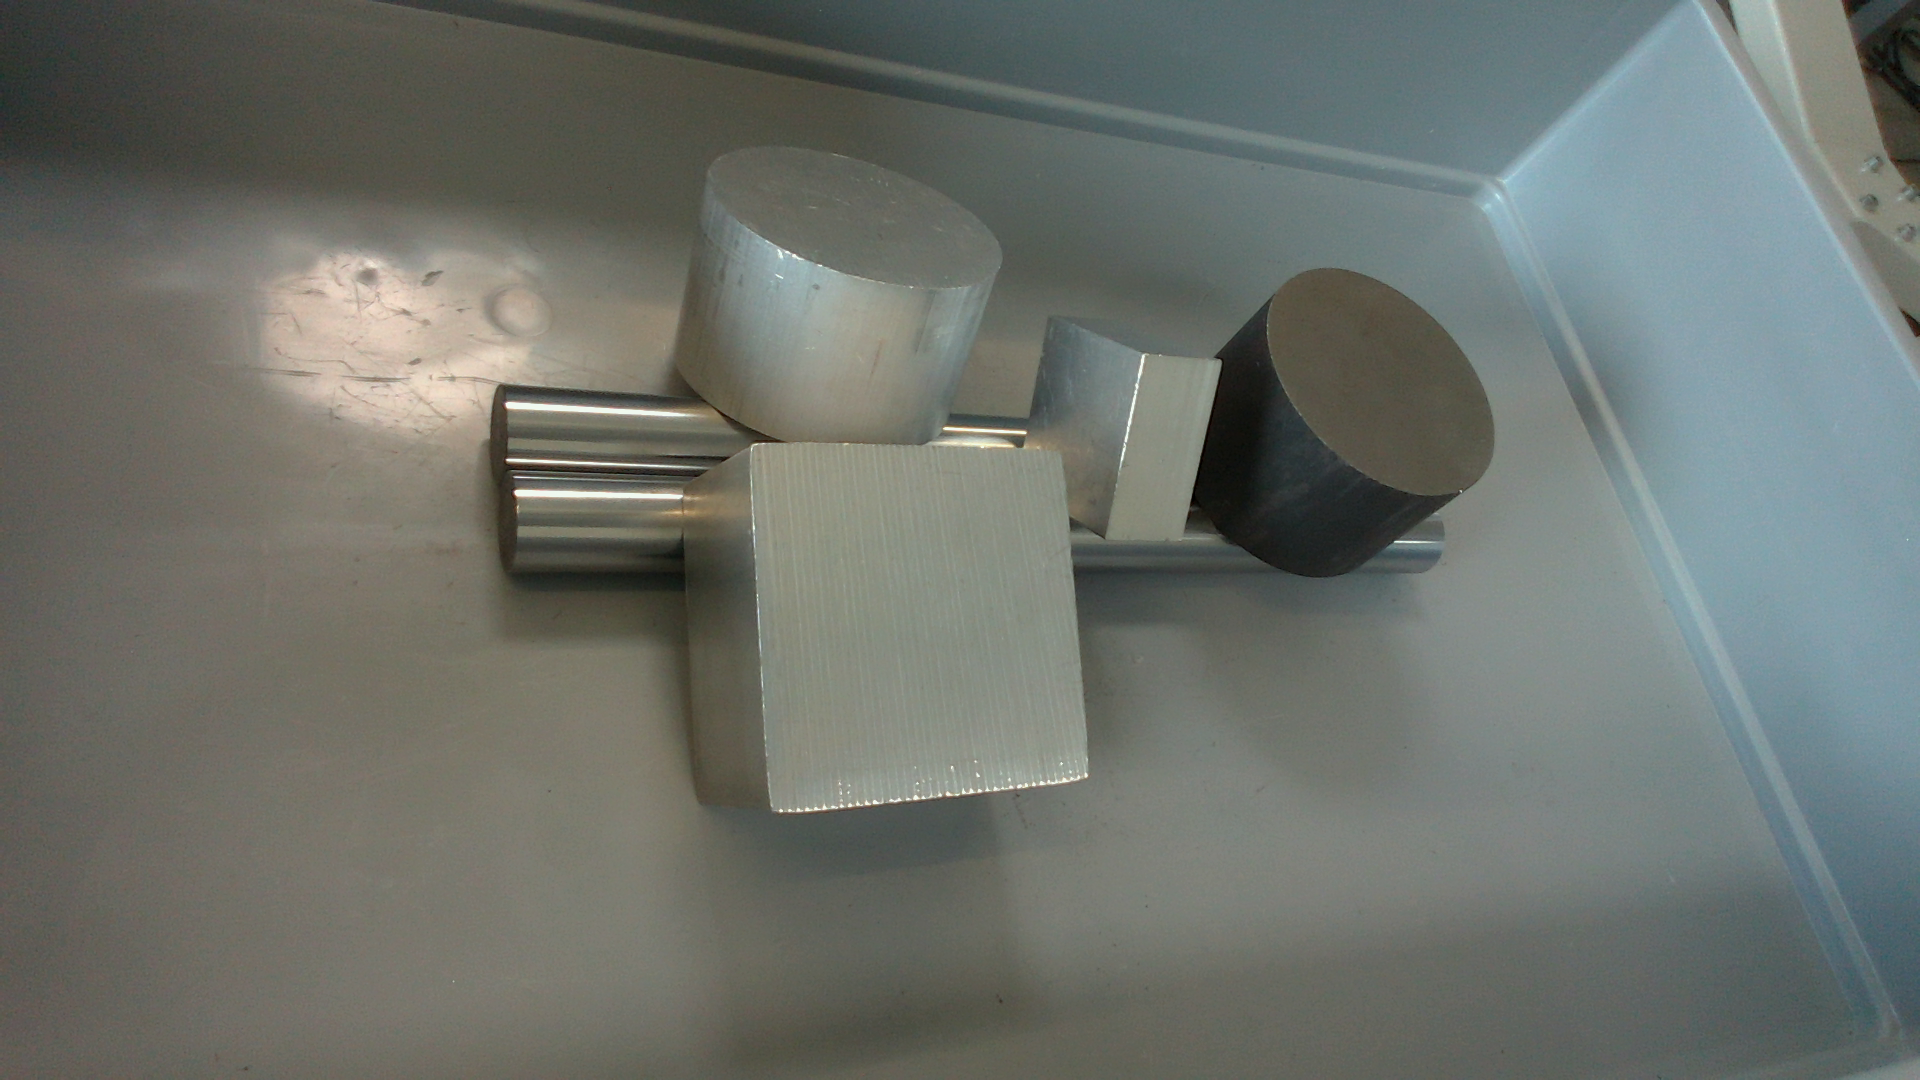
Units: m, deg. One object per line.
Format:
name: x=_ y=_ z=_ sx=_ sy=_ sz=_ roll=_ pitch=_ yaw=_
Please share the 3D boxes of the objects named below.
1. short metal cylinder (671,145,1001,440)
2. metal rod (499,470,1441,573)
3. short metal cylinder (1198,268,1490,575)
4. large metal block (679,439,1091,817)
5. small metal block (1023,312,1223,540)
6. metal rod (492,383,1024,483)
short metal cylinder: x=-0.034 y=-0.067 z=0.376 sx=0.080 sy=0.050 sz=0.080 roll=15 pitch=33 yaw=-9
metal rod: x=0.023 y=-0.003 z=0.403 sx=0.301 sy=0.025 sz=0.025 roll=1 pitch=61 yaw=-28
short metal cylinder: x=0.113 y=-0.036 z=0.423 sx=0.080 sy=0.050 sz=0.080 roll=14 pitch=56 yaw=-21
large metal block: x=-0.019 y=0.021 z=0.331 sx=0.080 sy=0.050 sz=0.080 roll=-1 pitch=82 yaw=-29
small metal block: x=0.042 y=-0.032 z=0.378 sx=0.025 sy=0.050 sz=0.050 roll=1 pitch=19 yaw=-28
metal rod: x=0.018 y=-0.025 z=0.413 sx=0.301 sy=0.025 sz=0.025 roll=1 pitch=61 yaw=-28
